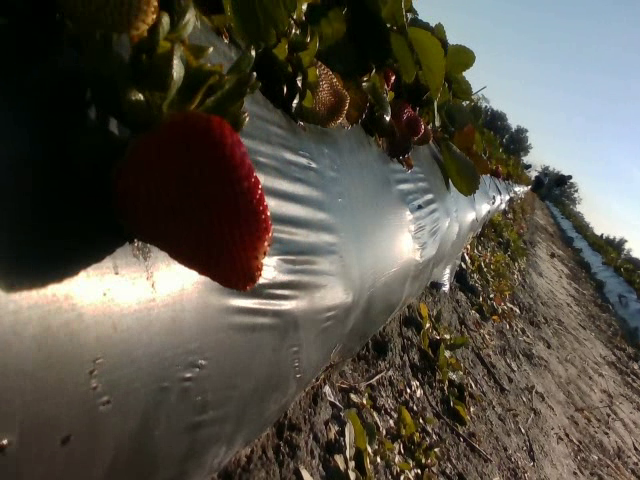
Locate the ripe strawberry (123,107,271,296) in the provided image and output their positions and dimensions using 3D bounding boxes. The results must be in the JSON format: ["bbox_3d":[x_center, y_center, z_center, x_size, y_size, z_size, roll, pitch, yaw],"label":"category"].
[{"bbox_3d":[-0.032,-0.010,0.165,0.042,0.059,0.042,-33,-24,4],"label":"ripe strawberry"}]
